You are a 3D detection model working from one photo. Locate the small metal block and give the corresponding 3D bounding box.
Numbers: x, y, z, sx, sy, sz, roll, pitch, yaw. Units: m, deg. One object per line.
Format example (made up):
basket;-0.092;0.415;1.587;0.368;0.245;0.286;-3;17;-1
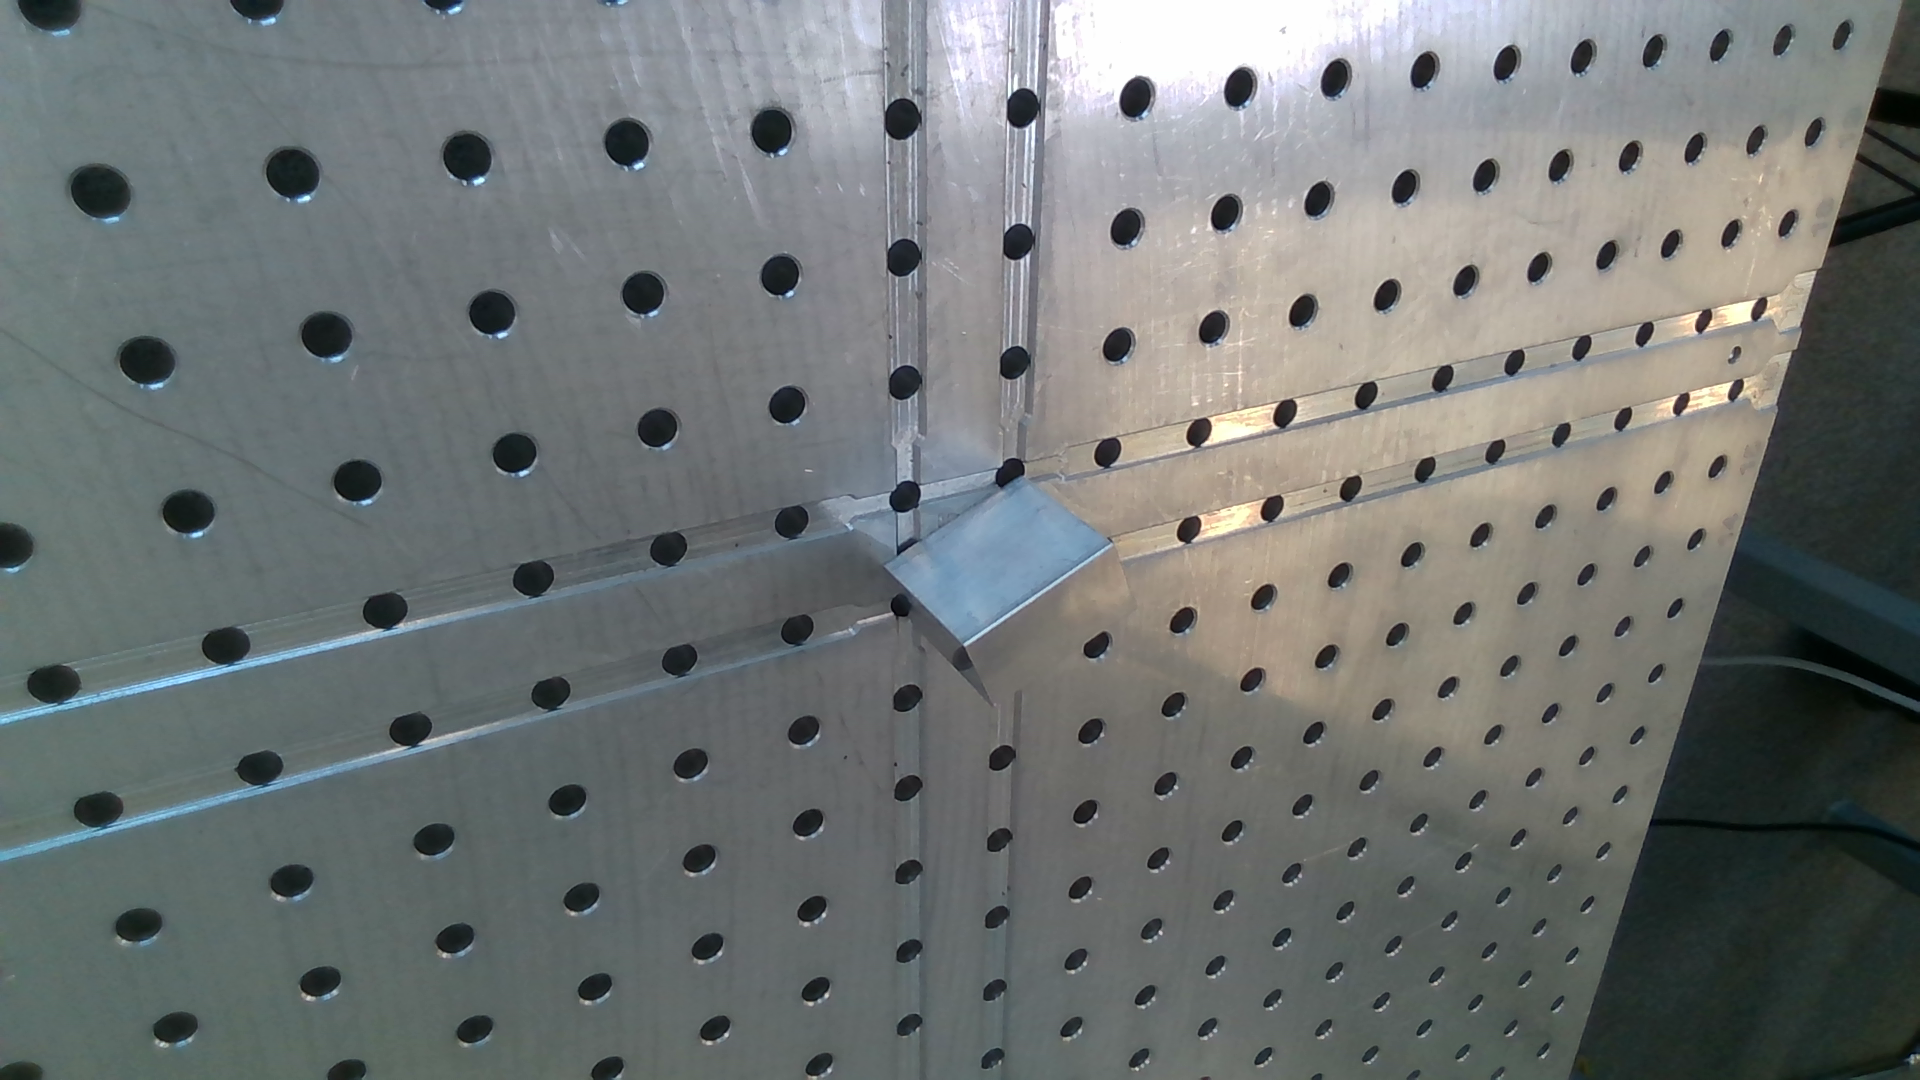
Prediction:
small metal block;0.013;0.013;0.391;0.050;0.050;0.025;-34;128;-12
